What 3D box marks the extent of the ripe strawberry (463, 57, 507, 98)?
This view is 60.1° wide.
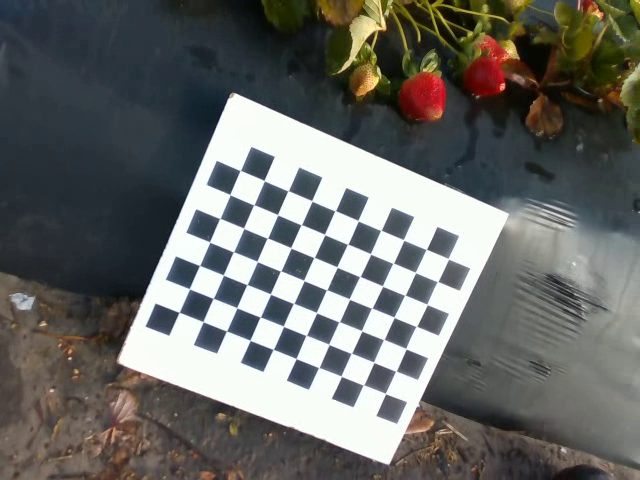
[{"bbox_3d":[0.171,-0.165,0.569,0.042,0.044,0.055,47,5,-47],"label":"ripe strawberry"}]

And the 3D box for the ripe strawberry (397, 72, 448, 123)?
[{"bbox_3d":[0.101,-0.136,0.528,0.050,0.050,0.065,-16,43,1],"label":"ripe strawberry"}]
